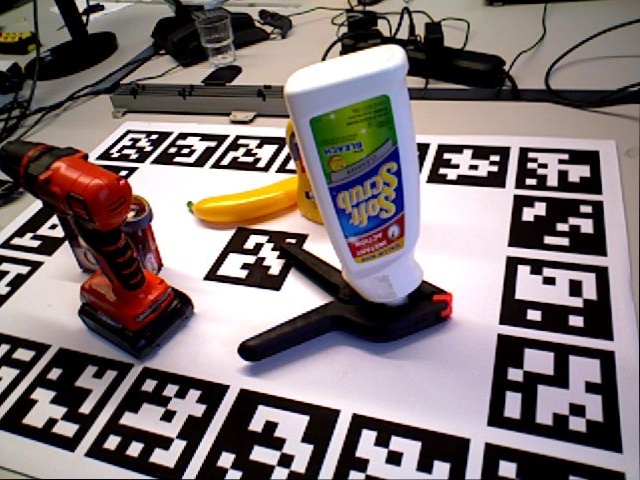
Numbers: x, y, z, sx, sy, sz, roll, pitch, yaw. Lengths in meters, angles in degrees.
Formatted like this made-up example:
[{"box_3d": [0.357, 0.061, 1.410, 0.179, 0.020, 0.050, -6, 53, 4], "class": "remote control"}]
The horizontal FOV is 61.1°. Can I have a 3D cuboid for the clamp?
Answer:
[{"box_3d": [0.040, 0.045, 0.549, 0.203, 0.037, 0.162, 1, 44, 12], "class": "clamp"}]

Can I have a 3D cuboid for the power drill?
[{"box_3d": [-0.233, -0.003, 0.527, 0.185, 0.190, 0.056, 13, 38, 29], "class": "power drill"}]

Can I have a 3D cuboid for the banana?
[{"box_3d": [-0.084, -0.073, 0.728, 0.195, 0.039, 0.074, -21, 24, -11], "class": "banana"}]

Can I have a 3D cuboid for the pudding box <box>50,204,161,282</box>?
[{"box_3d": [-0.256, -0.003, 0.654, 0.114, 0.092, 0.038, 9, 37, 21], "class": "pudding box"}]

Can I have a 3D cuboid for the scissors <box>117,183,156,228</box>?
[{"box_3d": [-0.270, -0.058, 0.619, 0.203, 0.016, 0.086, 28, 58, 31], "class": "scissors"}]

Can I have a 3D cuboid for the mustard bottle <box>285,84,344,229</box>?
[{"box_3d": [0.006, -0.106, 0.641, 0.096, 0.195, 0.057, 17, 46, 27], "class": "mustard bottle"}]

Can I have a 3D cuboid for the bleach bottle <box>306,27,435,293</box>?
[{"box_3d": [0.064, -0.043, 0.480, 0.103, 0.254, 0.067, -12, 36, 8], "class": "bleach bottle"}]
